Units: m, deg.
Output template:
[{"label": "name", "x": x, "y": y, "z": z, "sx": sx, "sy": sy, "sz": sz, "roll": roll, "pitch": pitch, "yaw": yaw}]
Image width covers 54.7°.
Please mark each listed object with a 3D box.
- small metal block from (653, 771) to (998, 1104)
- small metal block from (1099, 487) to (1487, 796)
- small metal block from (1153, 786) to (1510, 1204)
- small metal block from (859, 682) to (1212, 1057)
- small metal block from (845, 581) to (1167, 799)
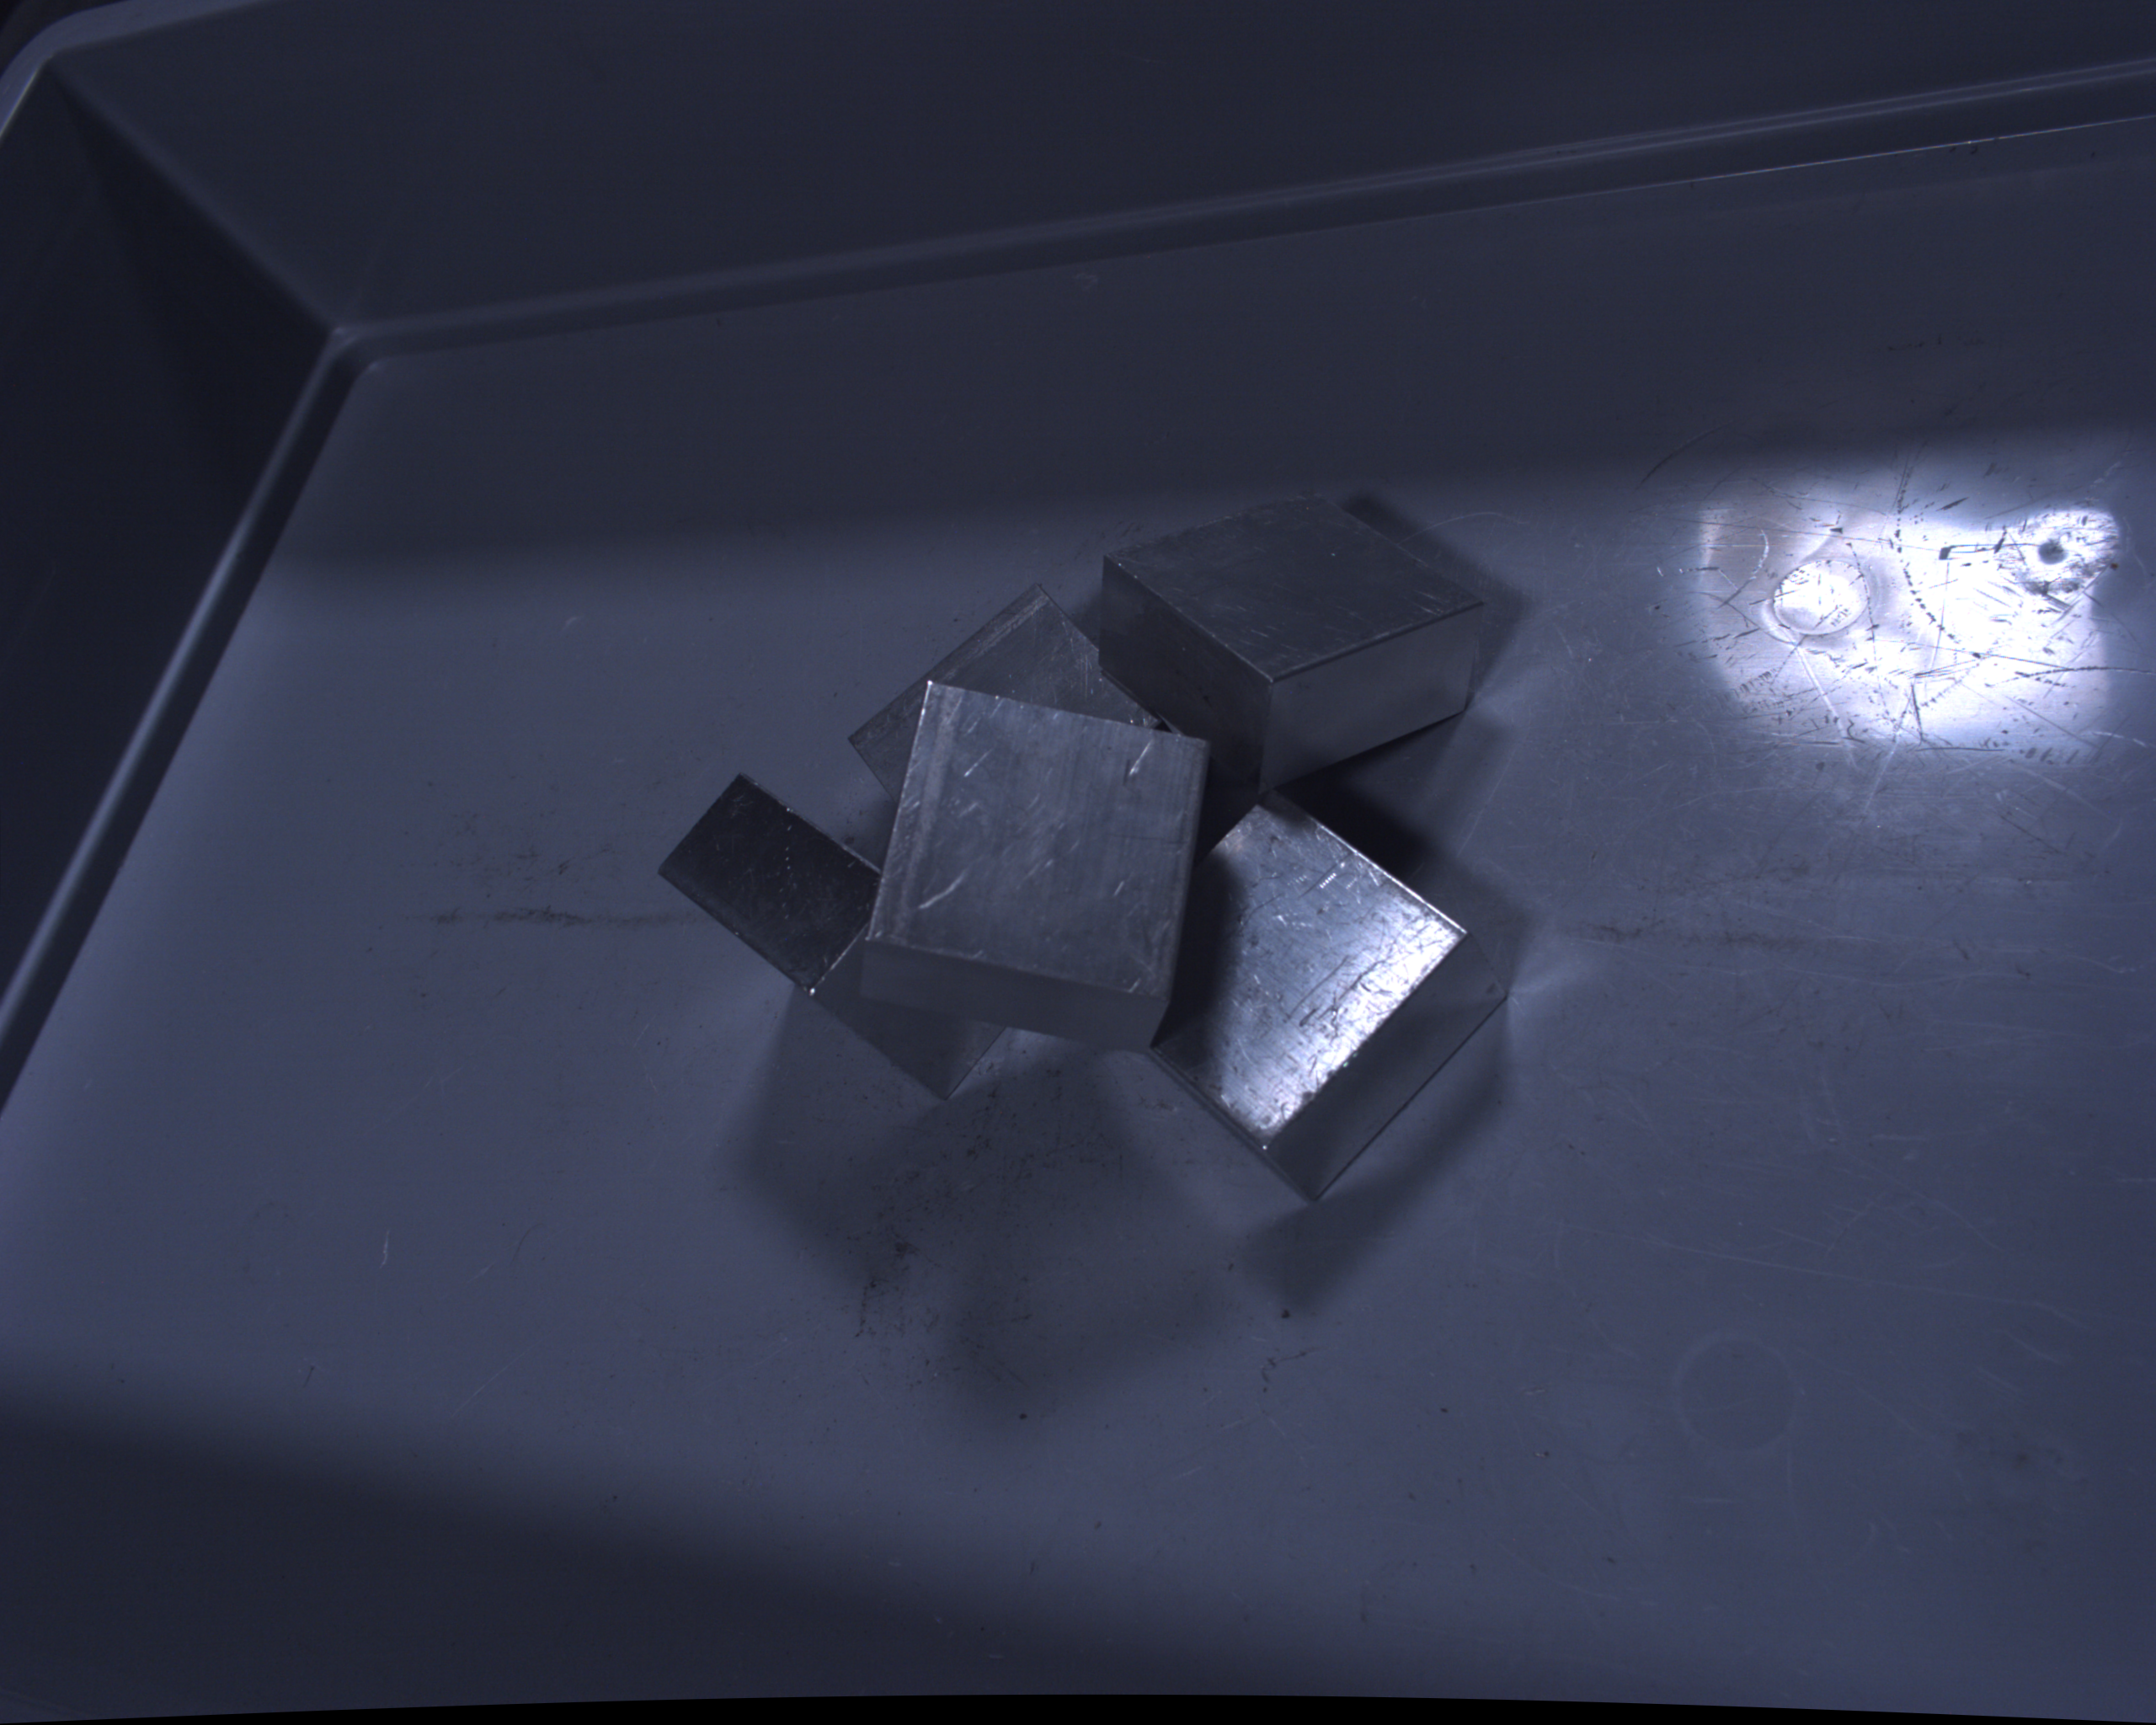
[{"label": "small metal block", "x": -0.045, "y": 0.015, "z": 0.400, "sx": 0.050, "sy": 0.050, "sz": 0.025, "roll": 33, "pitch": 80, "yaw": 38}, {"label": "small metal block", "x": 0.040, "y": -0.043, "z": 0.394, "sx": 0.050, "sy": 0.025, "sz": 0.050, "roll": -22, "pitch": 45, "yaw": -28}, {"label": "small metal block", "x": 0.038, "y": 0.023, "z": 0.368, "sx": 0.050, "sy": 0.025, "sz": 0.050, "roll": -46, "pitch": 52, "yaw": -4}, {"label": "small metal block", "x": -0.007, "y": 0.001, "z": 0.359, "sx": 0.050, "sy": 0.025, "sz": 0.050, "roll": 12, "pitch": 63, "yaw": -3}, {"label": "small metal block", "x": -0.011, "y": -0.021, "z": 0.419, "sx": 0.050, "sy": 0.025, "sz": 0.050, "roll": -39, "pitch": 51, "yaw": 1}]
